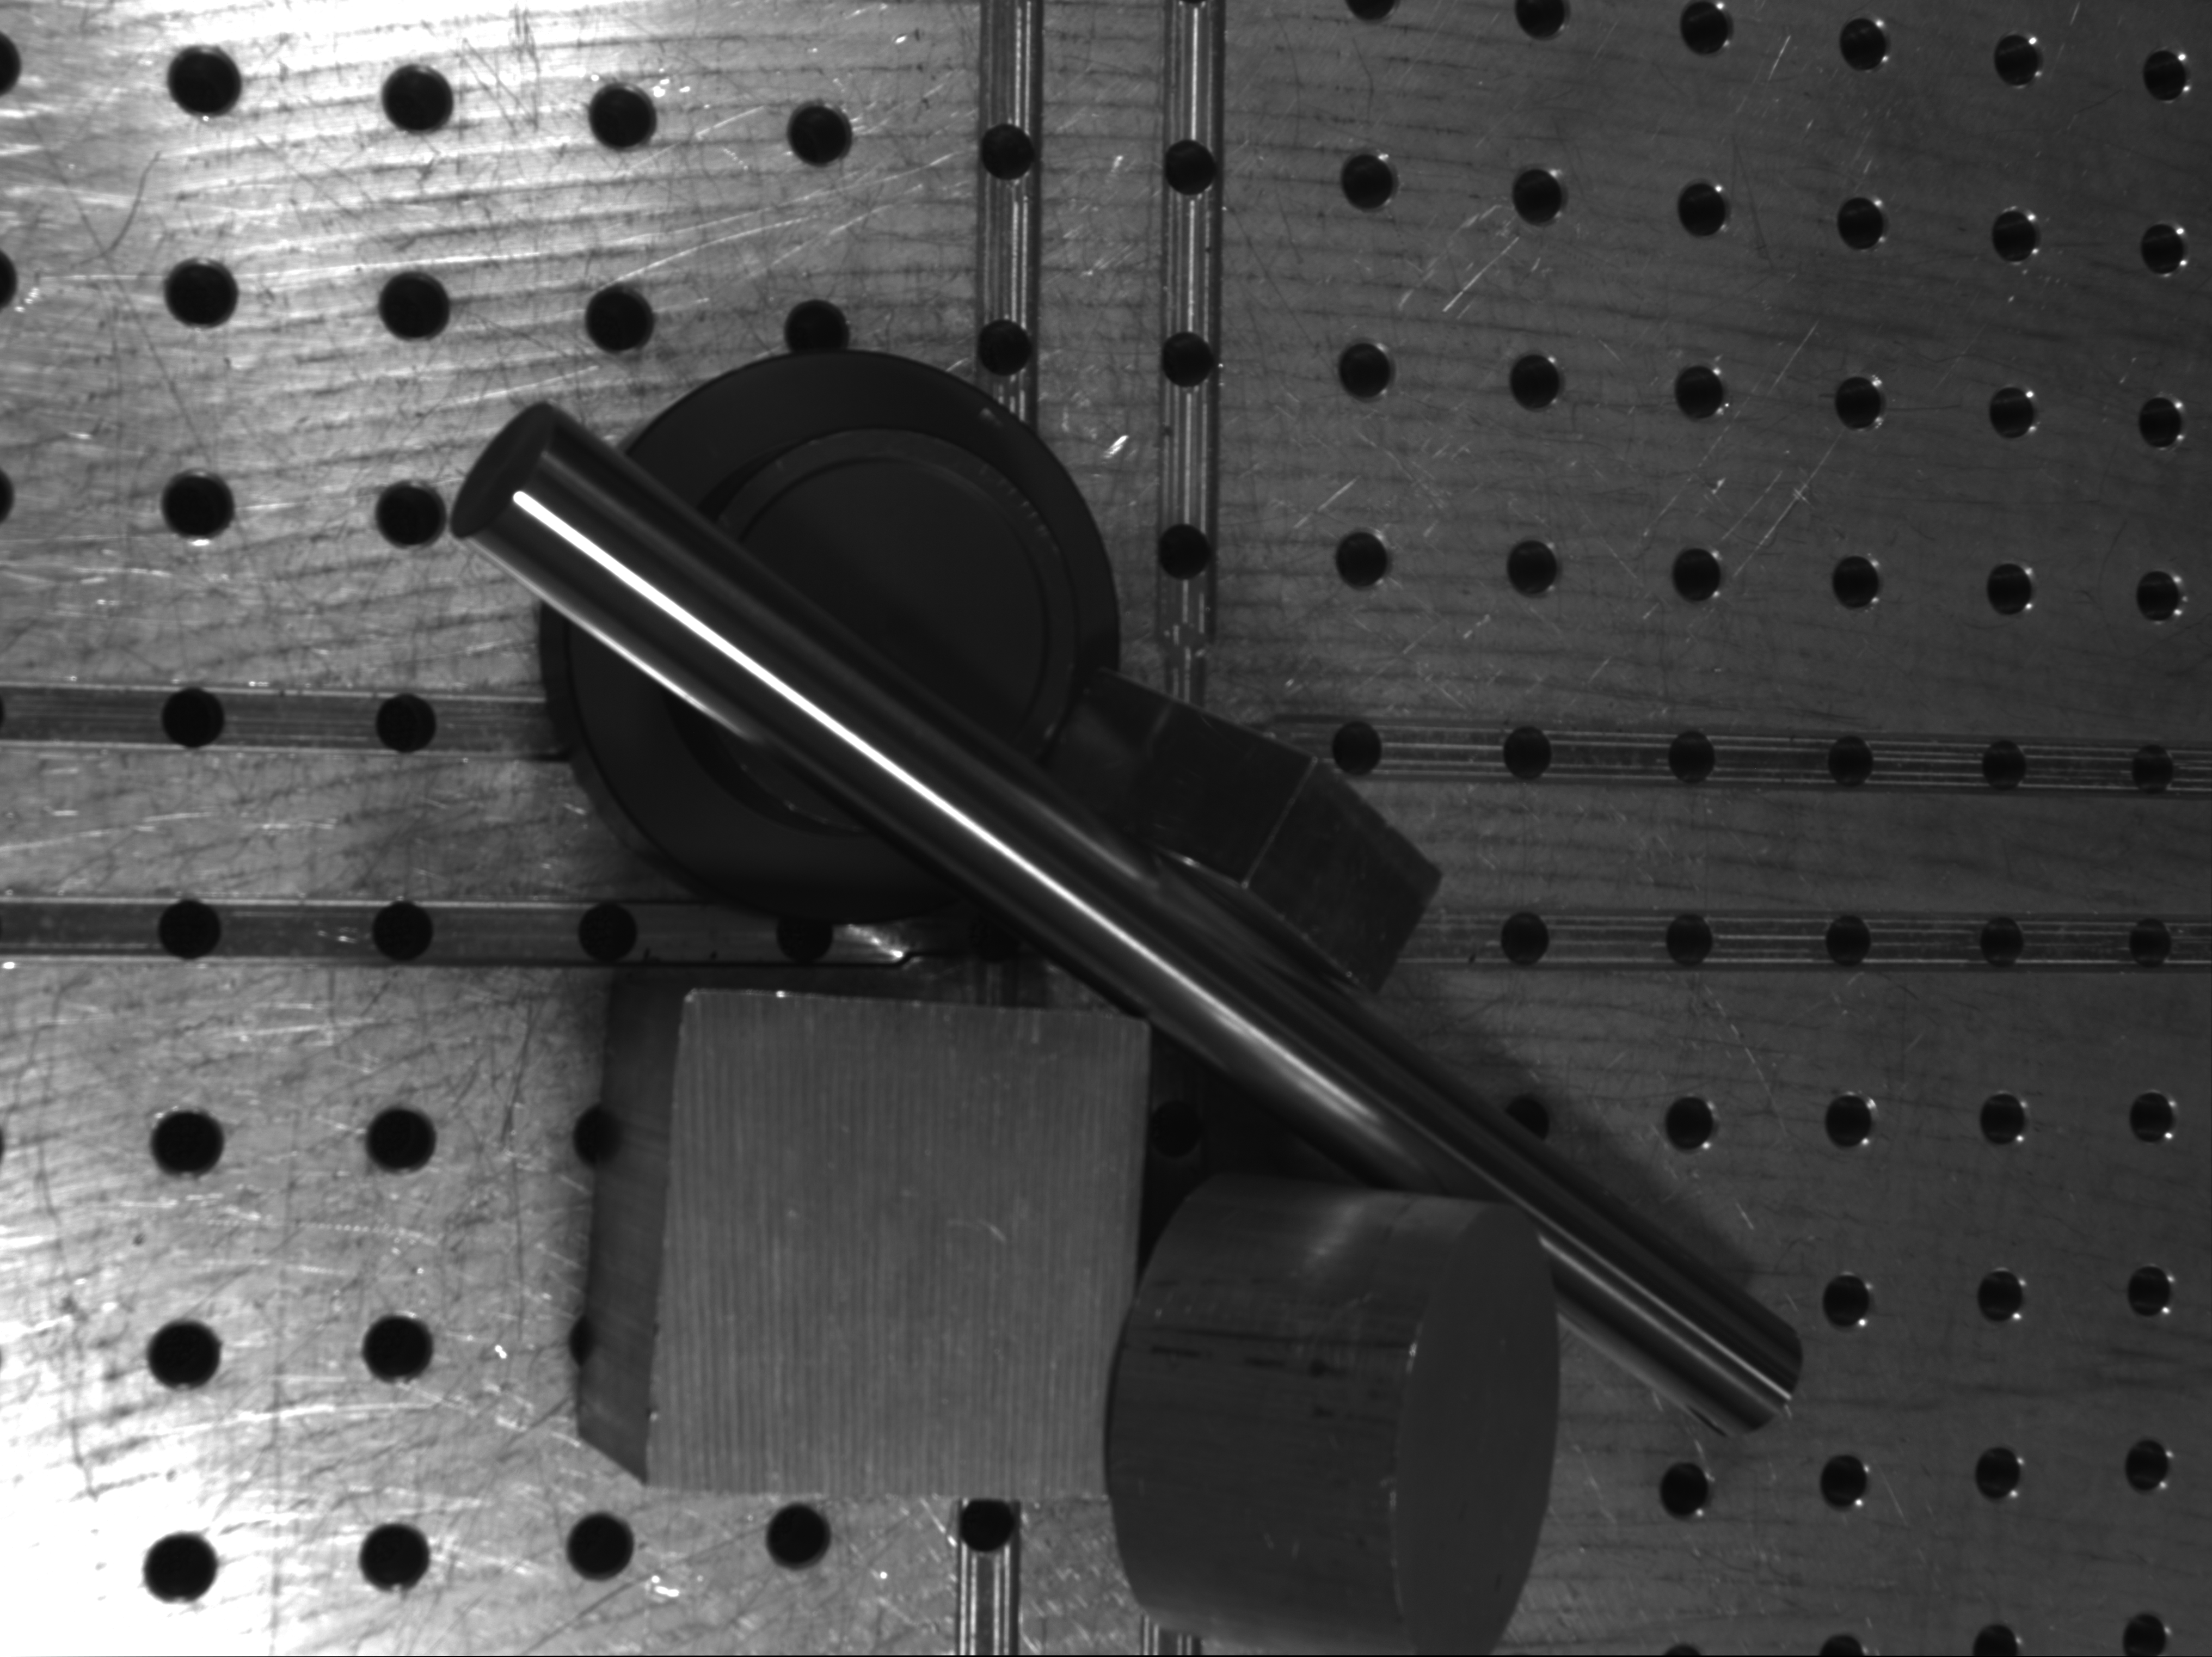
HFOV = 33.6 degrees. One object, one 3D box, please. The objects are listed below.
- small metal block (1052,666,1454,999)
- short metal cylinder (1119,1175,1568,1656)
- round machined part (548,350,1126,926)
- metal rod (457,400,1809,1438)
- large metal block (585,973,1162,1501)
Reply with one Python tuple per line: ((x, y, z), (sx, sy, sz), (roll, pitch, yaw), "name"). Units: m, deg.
((0.024, 0.001, 0.631), (0.025, 0.050, 0.050), (-60, 141, -7), "small metal block")
((0.042, 0.101, 0.625), (0.080, 0.050, 0.080), (4, 90, -65), "short metal cylinder")
((-0.042, -0.032, 0.622), (0.098, 0.042, 0.098), (0, 90, -20), "round machined part")
((0.017, 0.025, 0.618), (0.301, 0.025, 0.025), (37, 78, -29), "metal rod")
((-0.040, 0.068, 0.615), (0.080, 0.050, 0.080), (5, 88, -20), "large metal block")
